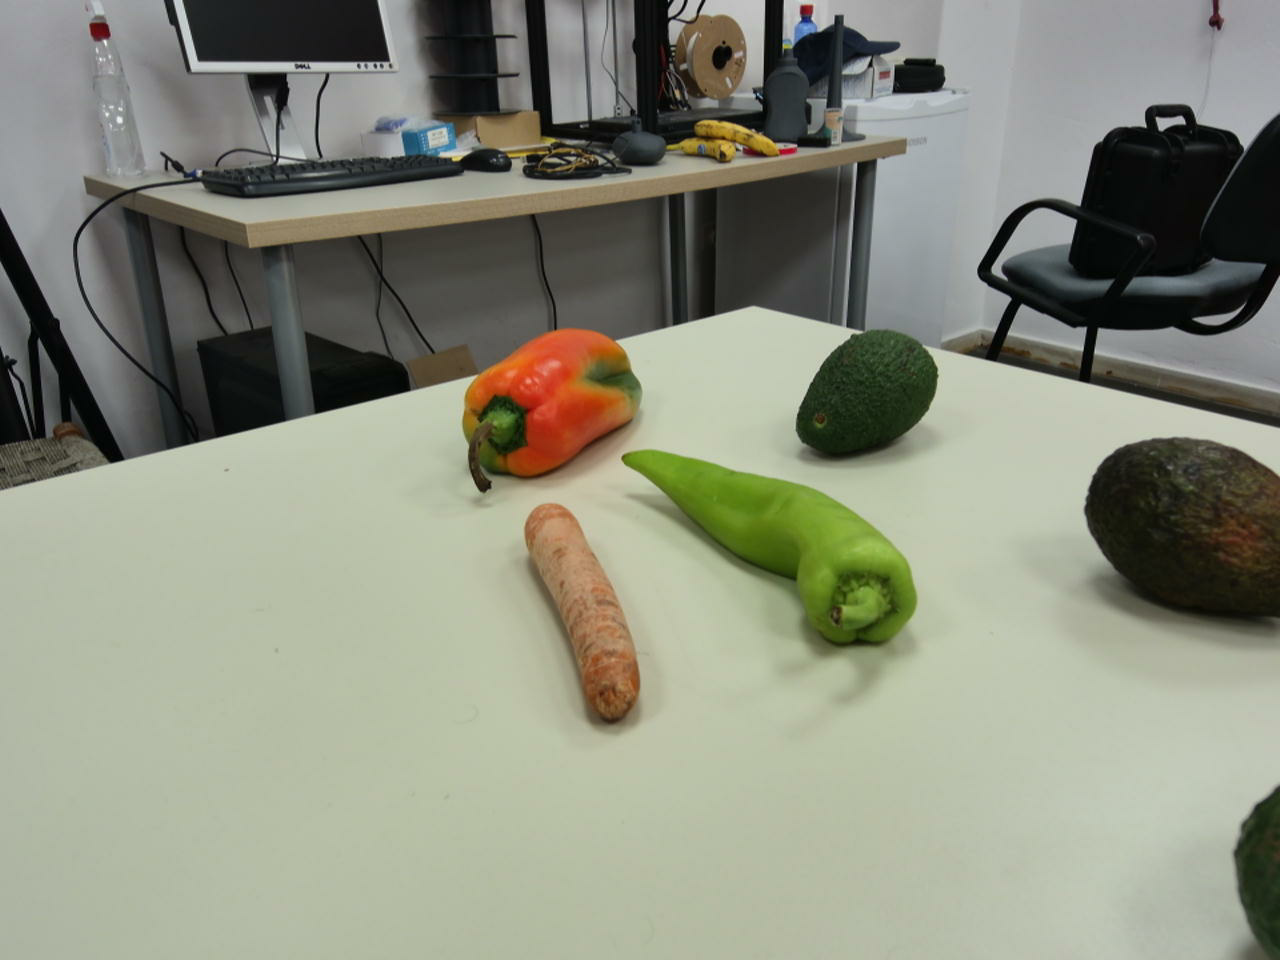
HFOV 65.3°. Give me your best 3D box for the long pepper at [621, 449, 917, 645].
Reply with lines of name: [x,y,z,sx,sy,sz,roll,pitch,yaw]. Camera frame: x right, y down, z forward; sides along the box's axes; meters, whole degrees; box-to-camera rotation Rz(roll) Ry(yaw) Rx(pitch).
long pepper: [0.060,0.020,0.463,0.065,0.045,0.204,-9,24,-21]
